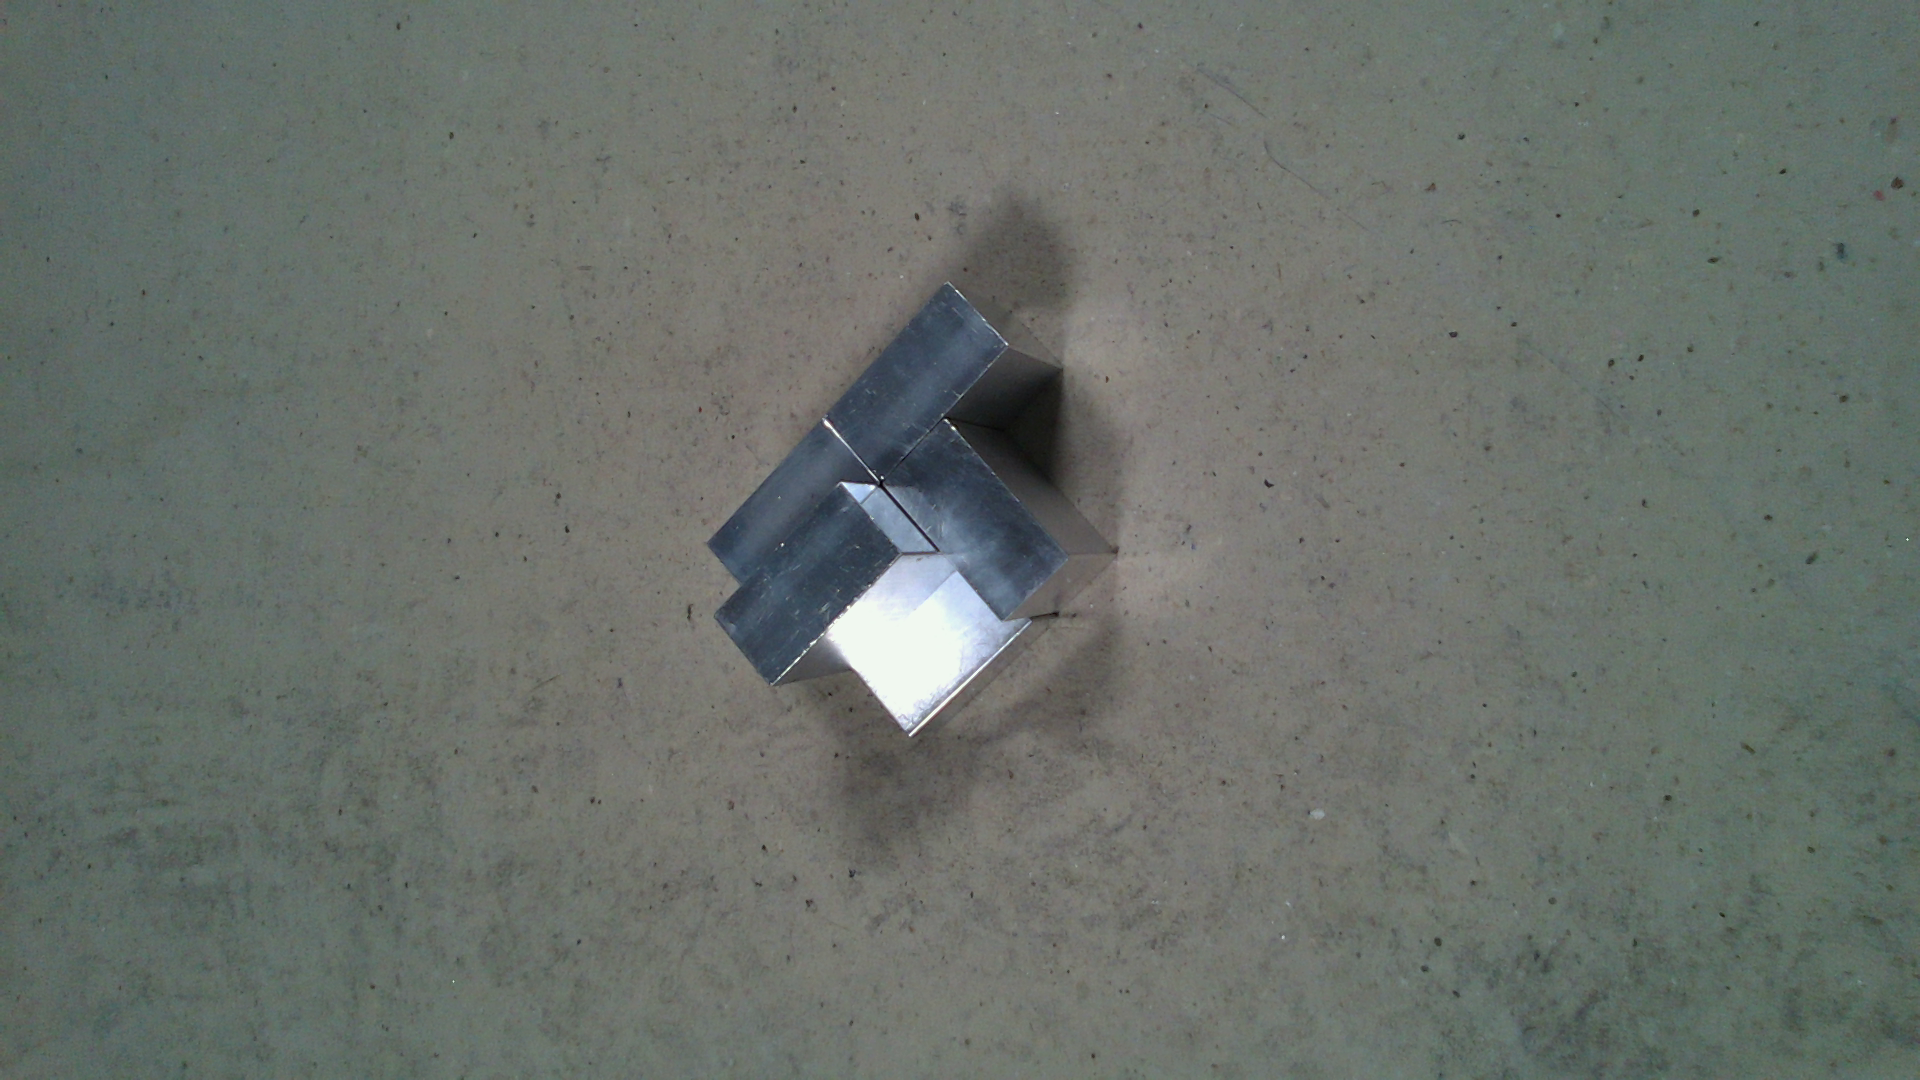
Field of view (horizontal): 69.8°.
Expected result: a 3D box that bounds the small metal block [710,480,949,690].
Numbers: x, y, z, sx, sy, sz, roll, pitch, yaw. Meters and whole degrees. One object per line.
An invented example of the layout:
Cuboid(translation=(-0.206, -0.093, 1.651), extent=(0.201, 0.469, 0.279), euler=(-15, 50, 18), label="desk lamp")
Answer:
Cuboid(translation=(-0.030, 0.011, 0.367), extent=(0.050, 0.050, 0.025), euler=(-46, 76, 14), label="small metal block")

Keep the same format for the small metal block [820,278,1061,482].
Cuboid(translation=(-0.004, -0.042, 0.384), extent=(0.050, 0.050, 0.025), euler=(-46, 76, 14), label="small metal block")

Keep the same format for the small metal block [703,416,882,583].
Cuboid(translation=(-0.038, -0.007, 0.396), extent=(0.050, 0.050, 0.025), euler=(-46, 76, 14), label="small metal block")

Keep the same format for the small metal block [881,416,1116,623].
Cuboid(translation=(0.012, -0.006, 0.378), extent=(0.025, 0.050, 0.050), euler=(-45, 76, 15), label="small metal block")

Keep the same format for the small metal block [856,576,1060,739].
Cuboid(translation=(-0.009, 0.021, 0.399), extent=(0.050, 0.025, 0.050), euler=(-44, 76, 15), label="small metal block")
